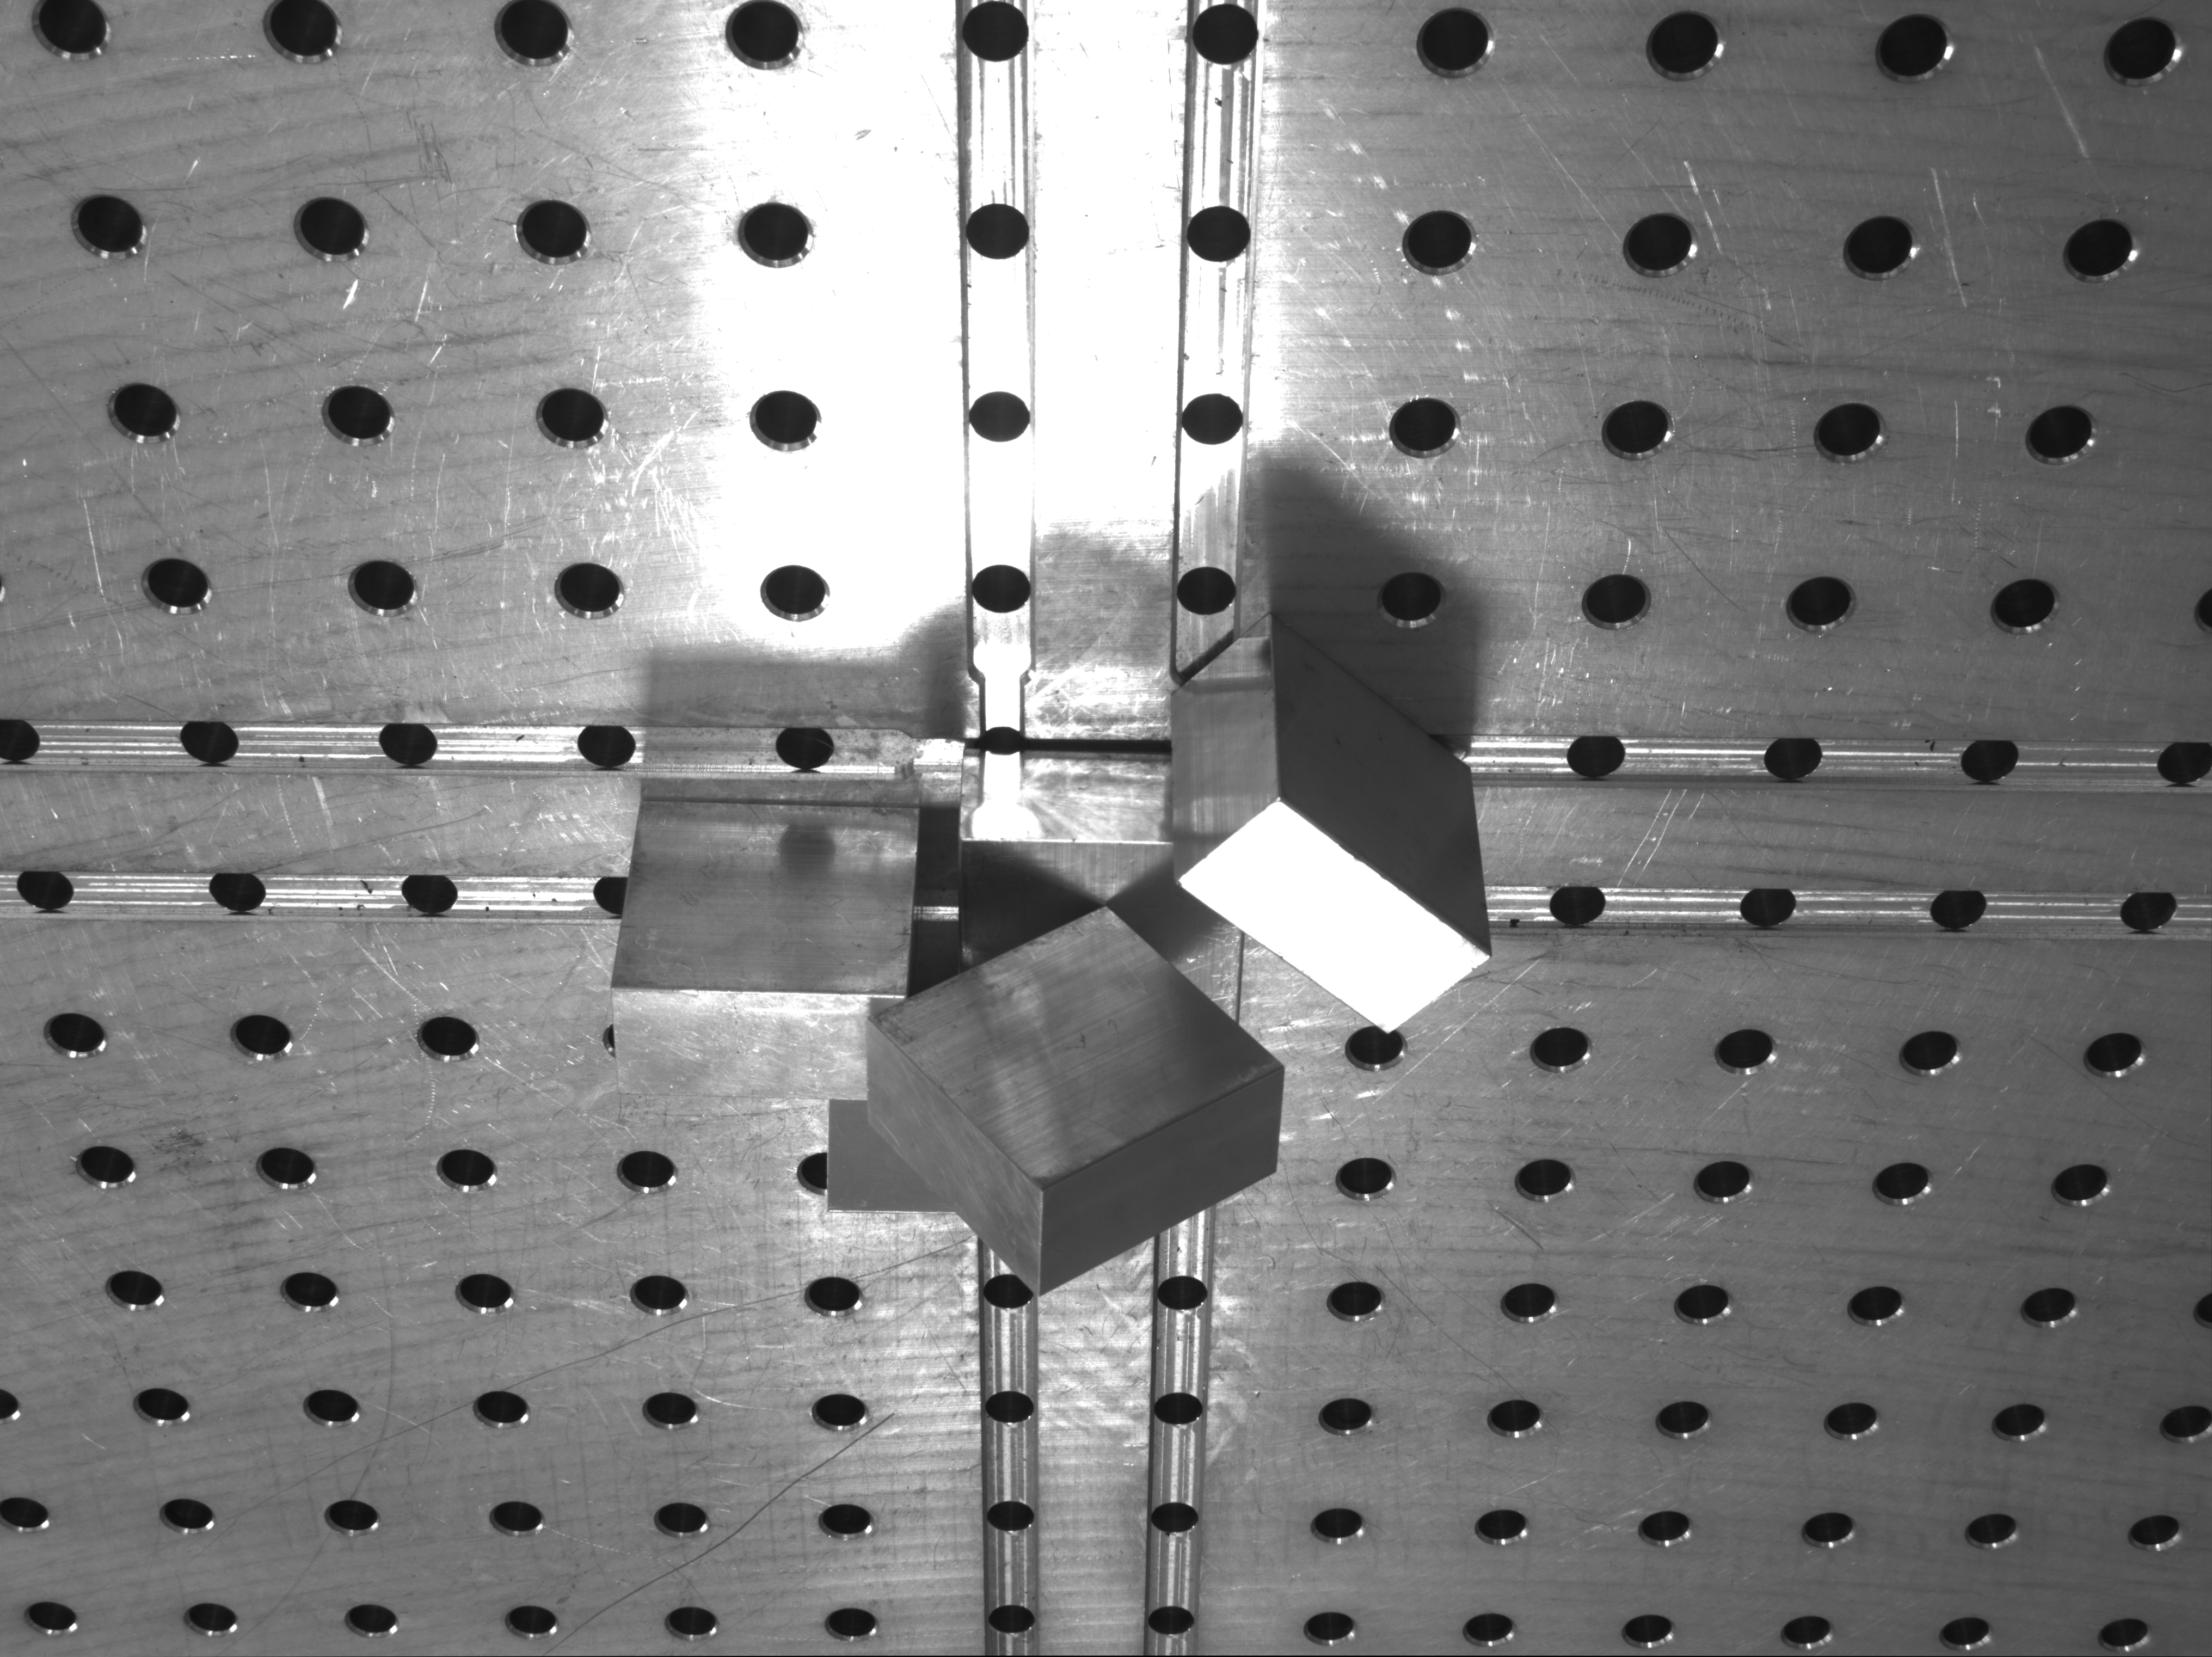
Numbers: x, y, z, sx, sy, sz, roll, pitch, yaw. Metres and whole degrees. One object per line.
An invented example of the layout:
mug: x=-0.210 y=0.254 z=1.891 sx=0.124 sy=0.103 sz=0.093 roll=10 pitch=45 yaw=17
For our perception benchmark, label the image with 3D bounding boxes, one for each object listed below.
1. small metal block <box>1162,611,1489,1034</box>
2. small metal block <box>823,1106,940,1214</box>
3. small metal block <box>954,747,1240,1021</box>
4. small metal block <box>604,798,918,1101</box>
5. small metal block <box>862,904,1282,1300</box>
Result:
small metal block: x=0.037 y=-0.001 z=0.626 sx=0.050 sy=0.050 sz=0.025 roll=35 pitch=121 yaw=-26
small metal block: x=-0.024 y=0.052 z=0.667 sx=0.050 sy=0.050 sz=0.025 roll=1 pitch=98 yaw=-1
small metal block: x=-0.002 y=0.013 z=0.654 sx=0.050 sy=0.025 sz=0.050 roll=1 pitch=130 yaw=-2
small metal block: x=-0.059 y=0.021 z=0.643 sx=0.050 sy=0.050 sz=0.025 roll=2 pitch=130 yaw=0
small metal block: x=-0.006 y=0.045 z=0.619 sx=0.050 sy=0.050 sz=0.025 roll=-24 pitch=138 yaw=-29
